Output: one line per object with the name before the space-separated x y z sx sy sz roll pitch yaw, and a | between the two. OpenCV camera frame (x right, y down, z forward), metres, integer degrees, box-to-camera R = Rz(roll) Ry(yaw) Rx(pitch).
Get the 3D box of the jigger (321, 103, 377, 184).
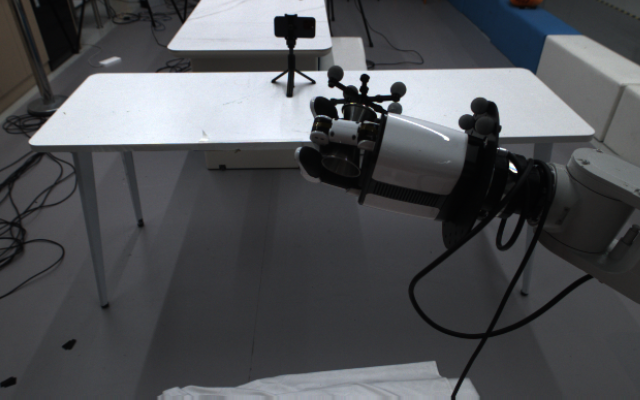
jigger | 0.036 -0.063 0.519 0.043 0.043 0.071 12 71 14
